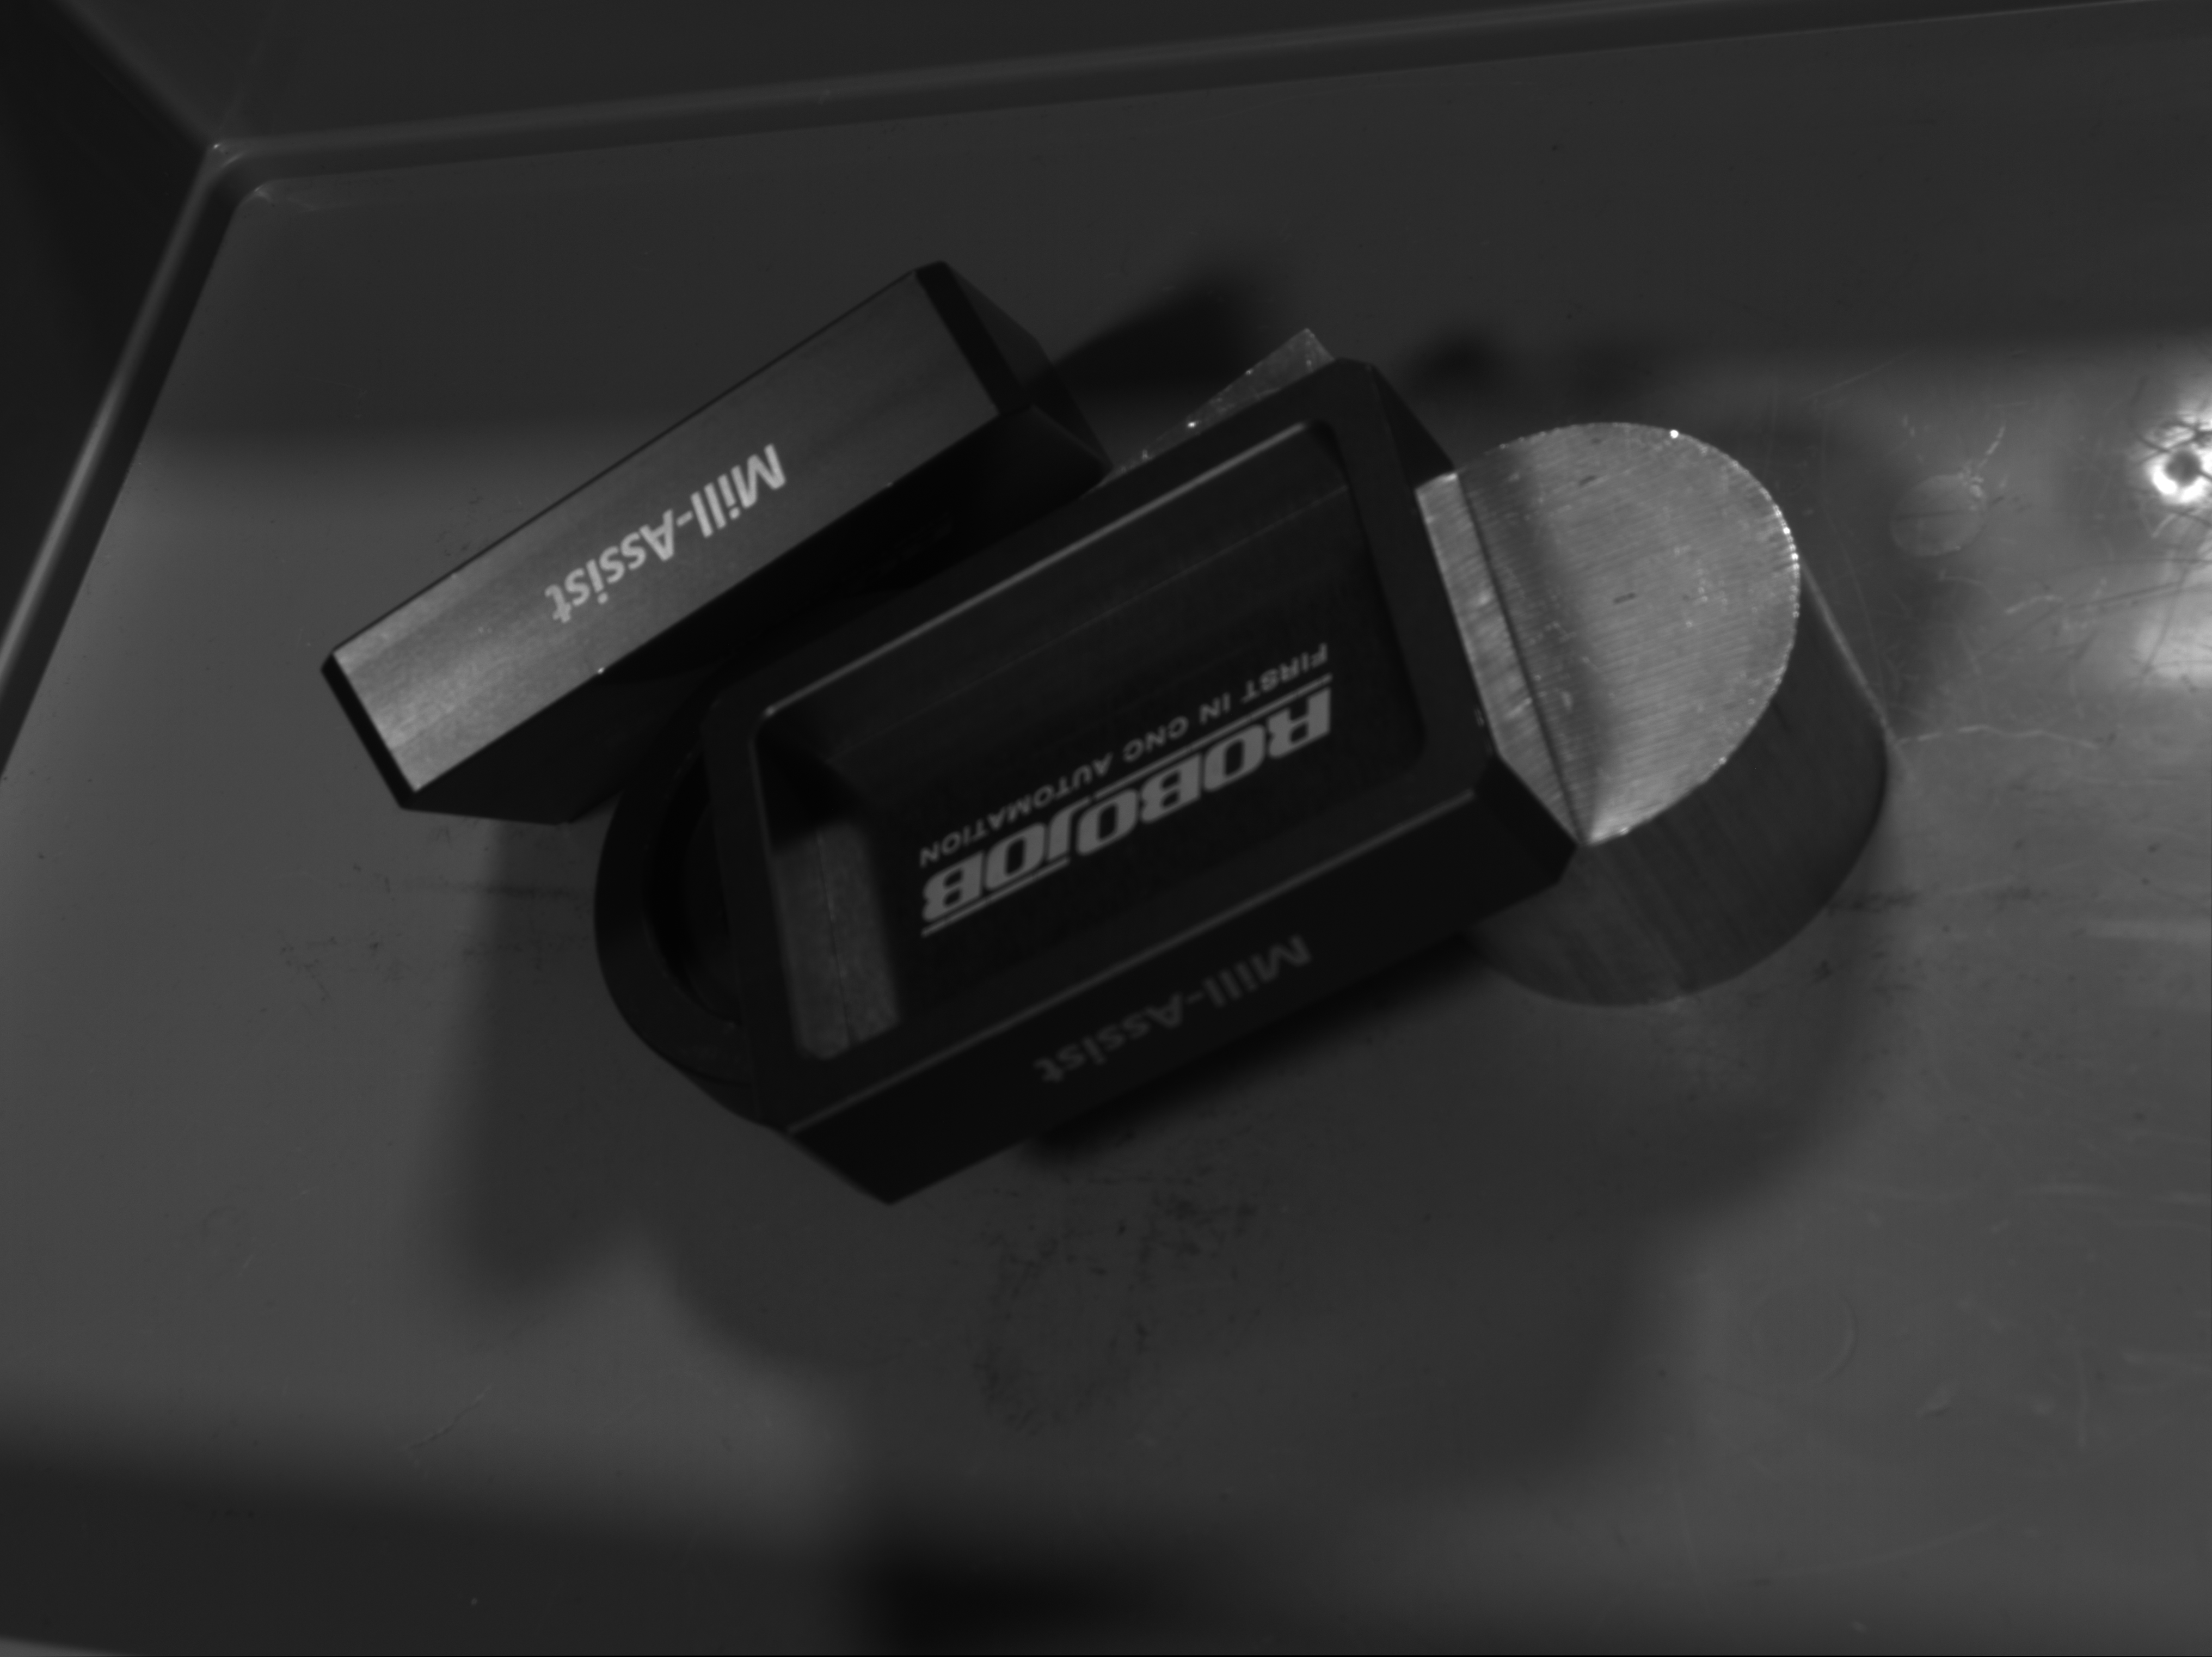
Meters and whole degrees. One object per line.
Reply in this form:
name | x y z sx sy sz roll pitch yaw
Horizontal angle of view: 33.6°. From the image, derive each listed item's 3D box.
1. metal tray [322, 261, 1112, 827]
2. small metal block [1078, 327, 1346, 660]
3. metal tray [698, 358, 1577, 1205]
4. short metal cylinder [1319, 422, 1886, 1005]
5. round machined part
metal tray | -0.067 -0.048 0.665 0.130 0.090 0.030 -32 83 7
small metal block | 0.030 -0.051 0.641 0.050 0.050 0.025 -36 51 2
metal tray | 0.001 -0.007 0.582 0.130 0.030 0.090 -27 51 17
short metal cylinder | 0.081 -0.018 0.594 0.080 0.050 0.080 -13 56 21
round machined part | -0.037 0.011 0.647 0.098 0.042 0.098 -13 56 21
